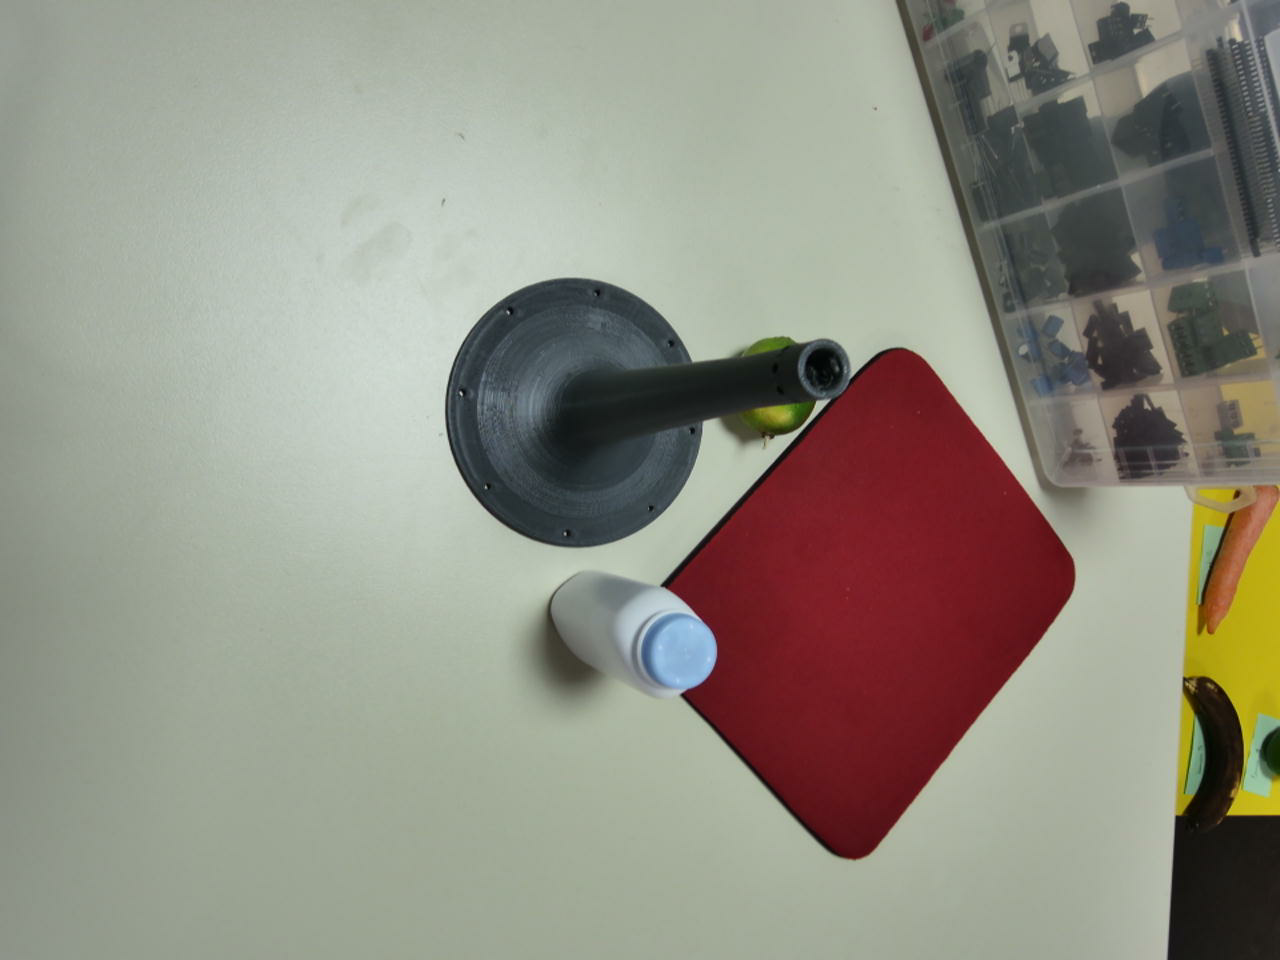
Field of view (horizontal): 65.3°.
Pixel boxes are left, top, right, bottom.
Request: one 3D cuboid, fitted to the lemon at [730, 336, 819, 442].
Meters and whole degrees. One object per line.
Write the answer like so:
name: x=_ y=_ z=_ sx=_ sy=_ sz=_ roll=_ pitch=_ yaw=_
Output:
lemon: x=0.079 y=-0.055 z=0.584 sx=0.055 sy=0.050 sz=0.054 roll=-37 pitch=104 yaw=-18
